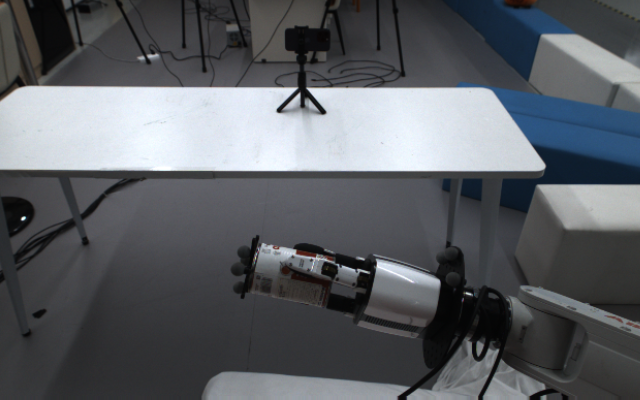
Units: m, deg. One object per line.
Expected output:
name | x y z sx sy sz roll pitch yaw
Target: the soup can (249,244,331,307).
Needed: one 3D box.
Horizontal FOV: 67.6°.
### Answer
soup can | -0.033 0.098 0.629 0.101 0.067 0.067 11 35 -2
